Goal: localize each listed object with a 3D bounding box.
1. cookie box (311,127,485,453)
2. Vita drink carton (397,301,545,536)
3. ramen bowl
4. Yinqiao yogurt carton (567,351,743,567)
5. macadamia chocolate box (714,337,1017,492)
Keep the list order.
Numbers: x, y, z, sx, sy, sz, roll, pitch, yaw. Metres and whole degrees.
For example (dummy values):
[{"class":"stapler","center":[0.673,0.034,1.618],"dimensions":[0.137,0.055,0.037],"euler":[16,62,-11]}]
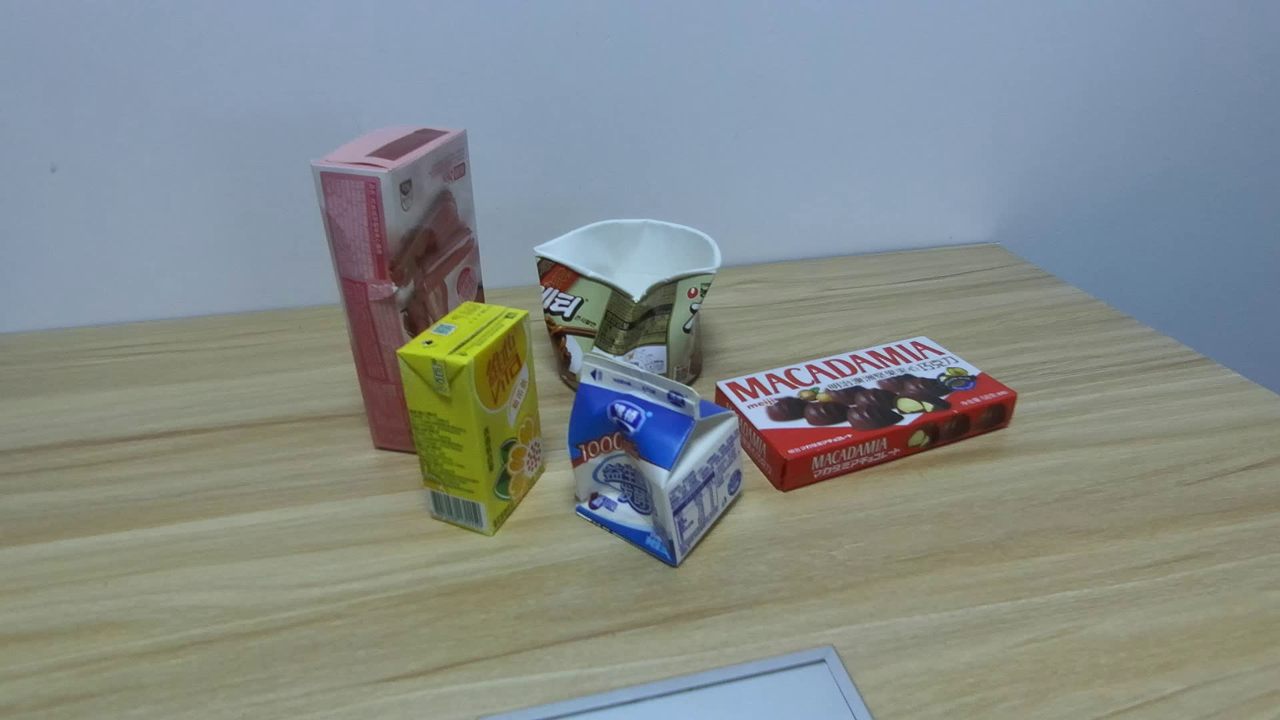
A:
[{"class":"cookie box","center":[-0.140,-0.042,0.443],"dimensions":[0.049,0.188,0.105],"euler":[6,30,9]},{"class":"Vita drink carton","center":[-0.090,0.031,0.395],"dimensions":[0.043,0.109,0.067],"euler":[9,31,19]},{"class":"ramen bowl","center":[-0.001,-0.041,0.528],"dimensions":[0.137,0.098,0.137],"euler":[2,30,-1]},{"class":"Yinqiao yogurt carton","center":[0.006,0.043,0.382],"dimensions":[0.077,0.094,0.071],"euler":[20,40,33]},{"class":"macadamia chocolate box","center":[0.148,0.030,0.472],"dimensions":[0.178,0.027,0.095],"euler":[-11,31,-18]}]
